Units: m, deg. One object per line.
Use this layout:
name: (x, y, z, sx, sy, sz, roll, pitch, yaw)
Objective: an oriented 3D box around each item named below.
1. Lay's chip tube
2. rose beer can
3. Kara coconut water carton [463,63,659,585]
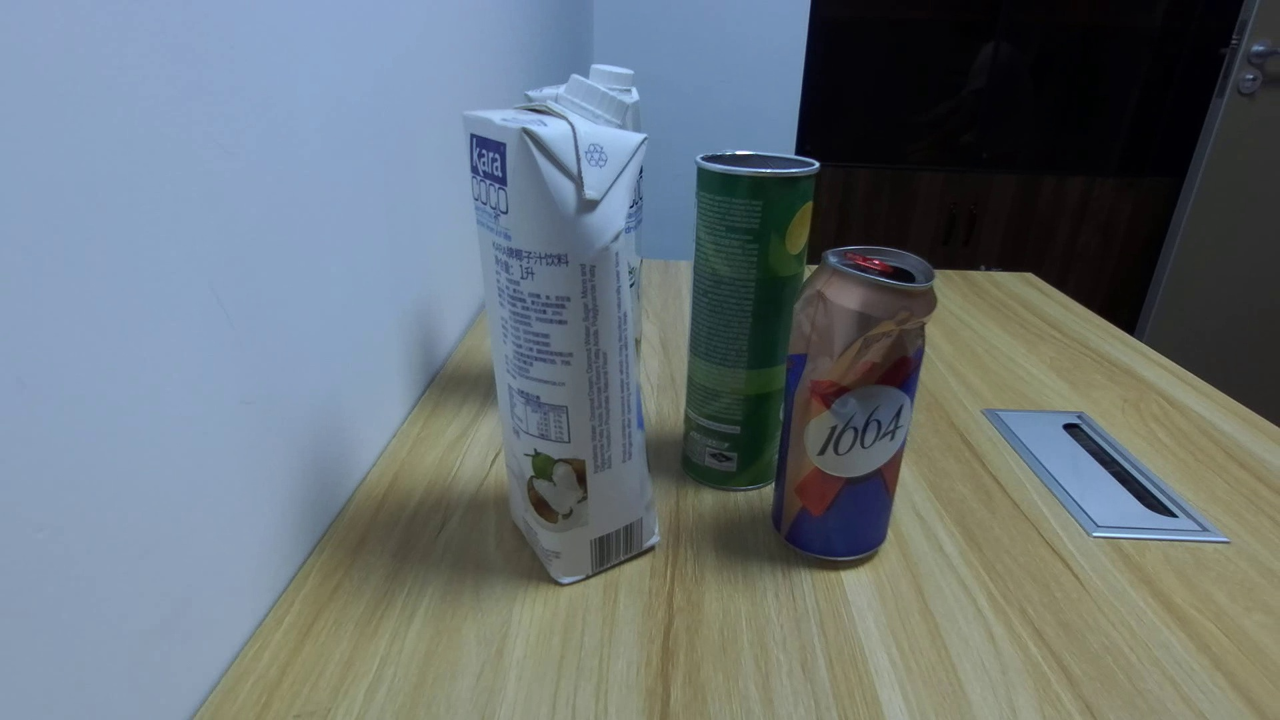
Lay's chip tube: (0.065, -0.023, 0.439, 0.071, 0.202, 0.071, 2, 24, -1)
rose beer can: (0.113, 0.027, 0.379, 0.076, 0.167, 0.065, -5, 28, -19)
Kara coconut water carton: (-0.035, -0.009, 0.367, 0.071, 0.244, 0.099, -13, 25, -28)
